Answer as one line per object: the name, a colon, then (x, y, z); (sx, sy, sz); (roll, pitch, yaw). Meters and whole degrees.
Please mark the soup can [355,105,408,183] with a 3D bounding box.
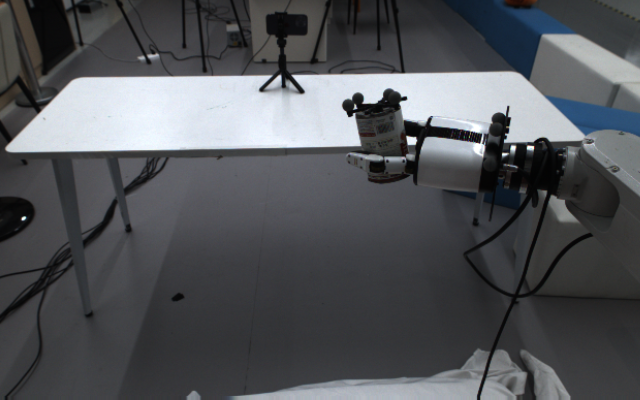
soup can: (0.095, -0.083, 0.702); (0.067, 0.101, 0.067); (-13, 20, 5)
